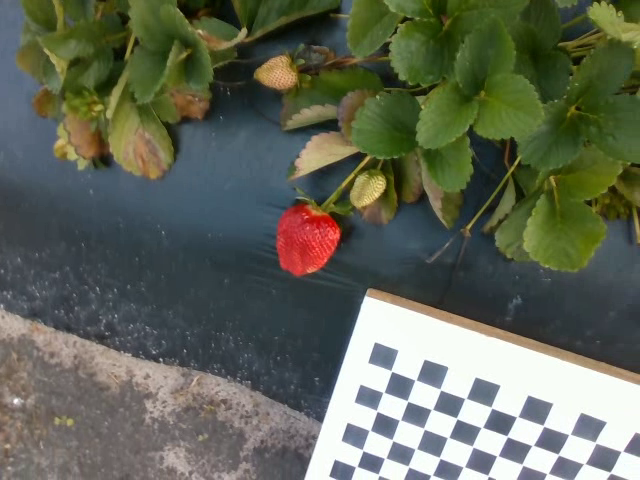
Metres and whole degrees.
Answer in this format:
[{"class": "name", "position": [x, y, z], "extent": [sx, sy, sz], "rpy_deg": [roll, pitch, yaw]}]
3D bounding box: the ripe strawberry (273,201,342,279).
[{"class": "ripe strawberry", "position": [-0.016, 0.001, 0.552], "extent": [0.067, 0.075, 0.039], "rpy_deg": [23, 20, 8]}]
